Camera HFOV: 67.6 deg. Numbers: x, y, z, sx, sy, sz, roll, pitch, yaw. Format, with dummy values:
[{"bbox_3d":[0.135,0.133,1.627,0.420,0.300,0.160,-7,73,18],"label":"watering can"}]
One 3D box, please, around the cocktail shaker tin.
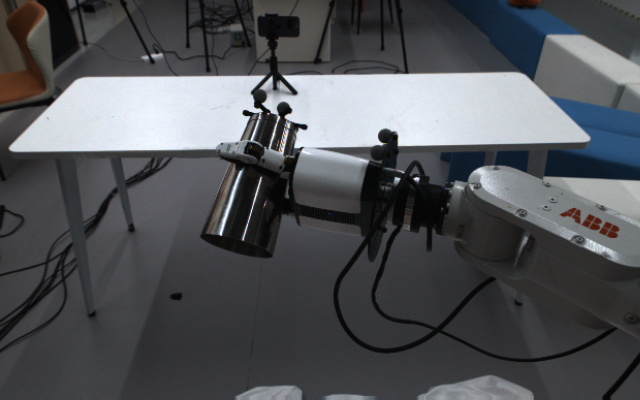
[{"bbox_3d":[-0.081,-0.020,0.614,0.093,0.093,0.170,10,71,12],"label":"cocktail shaker tin"}]
